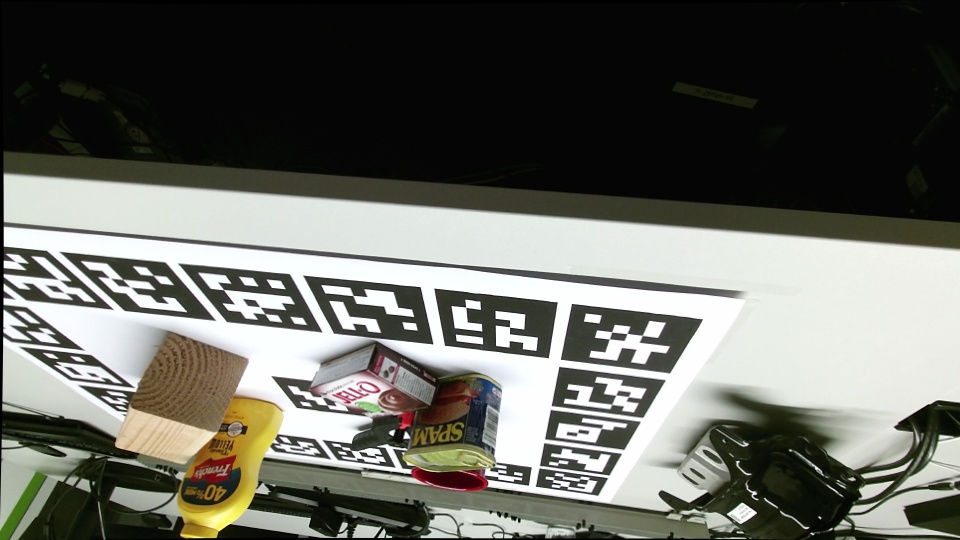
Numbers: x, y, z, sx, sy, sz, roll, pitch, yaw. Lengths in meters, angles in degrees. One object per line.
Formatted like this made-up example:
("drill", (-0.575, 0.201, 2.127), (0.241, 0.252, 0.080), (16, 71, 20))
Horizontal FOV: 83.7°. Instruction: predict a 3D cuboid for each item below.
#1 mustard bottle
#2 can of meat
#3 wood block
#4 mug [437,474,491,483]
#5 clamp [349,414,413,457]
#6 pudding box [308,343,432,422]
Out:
("mustard bottle", (-0.336, 0.276, 0.692), (0.096, 0.190, 0.058), (1, 140, 9))
("can of meat", (-0.028, 0.170, 0.575), (0.102, 0.083, 0.058), (-16, 133, 29))
("wood block", (-0.373, 0.164, 0.650), (0.090, 0.090, 0.206), (28, 140, -24))
("mug", (-0.032, 0.216, 0.678), (0.093, 0.081, 0.117), (19, 139, -11))
("clamp", (-0.113, 0.230, 0.720), (0.122, 0.036, 0.165), (18, 139, -8))
("pudding box", (-0.122, 0.127, 0.585), (0.114, 0.038, 0.090), (-23, 131, 37))
